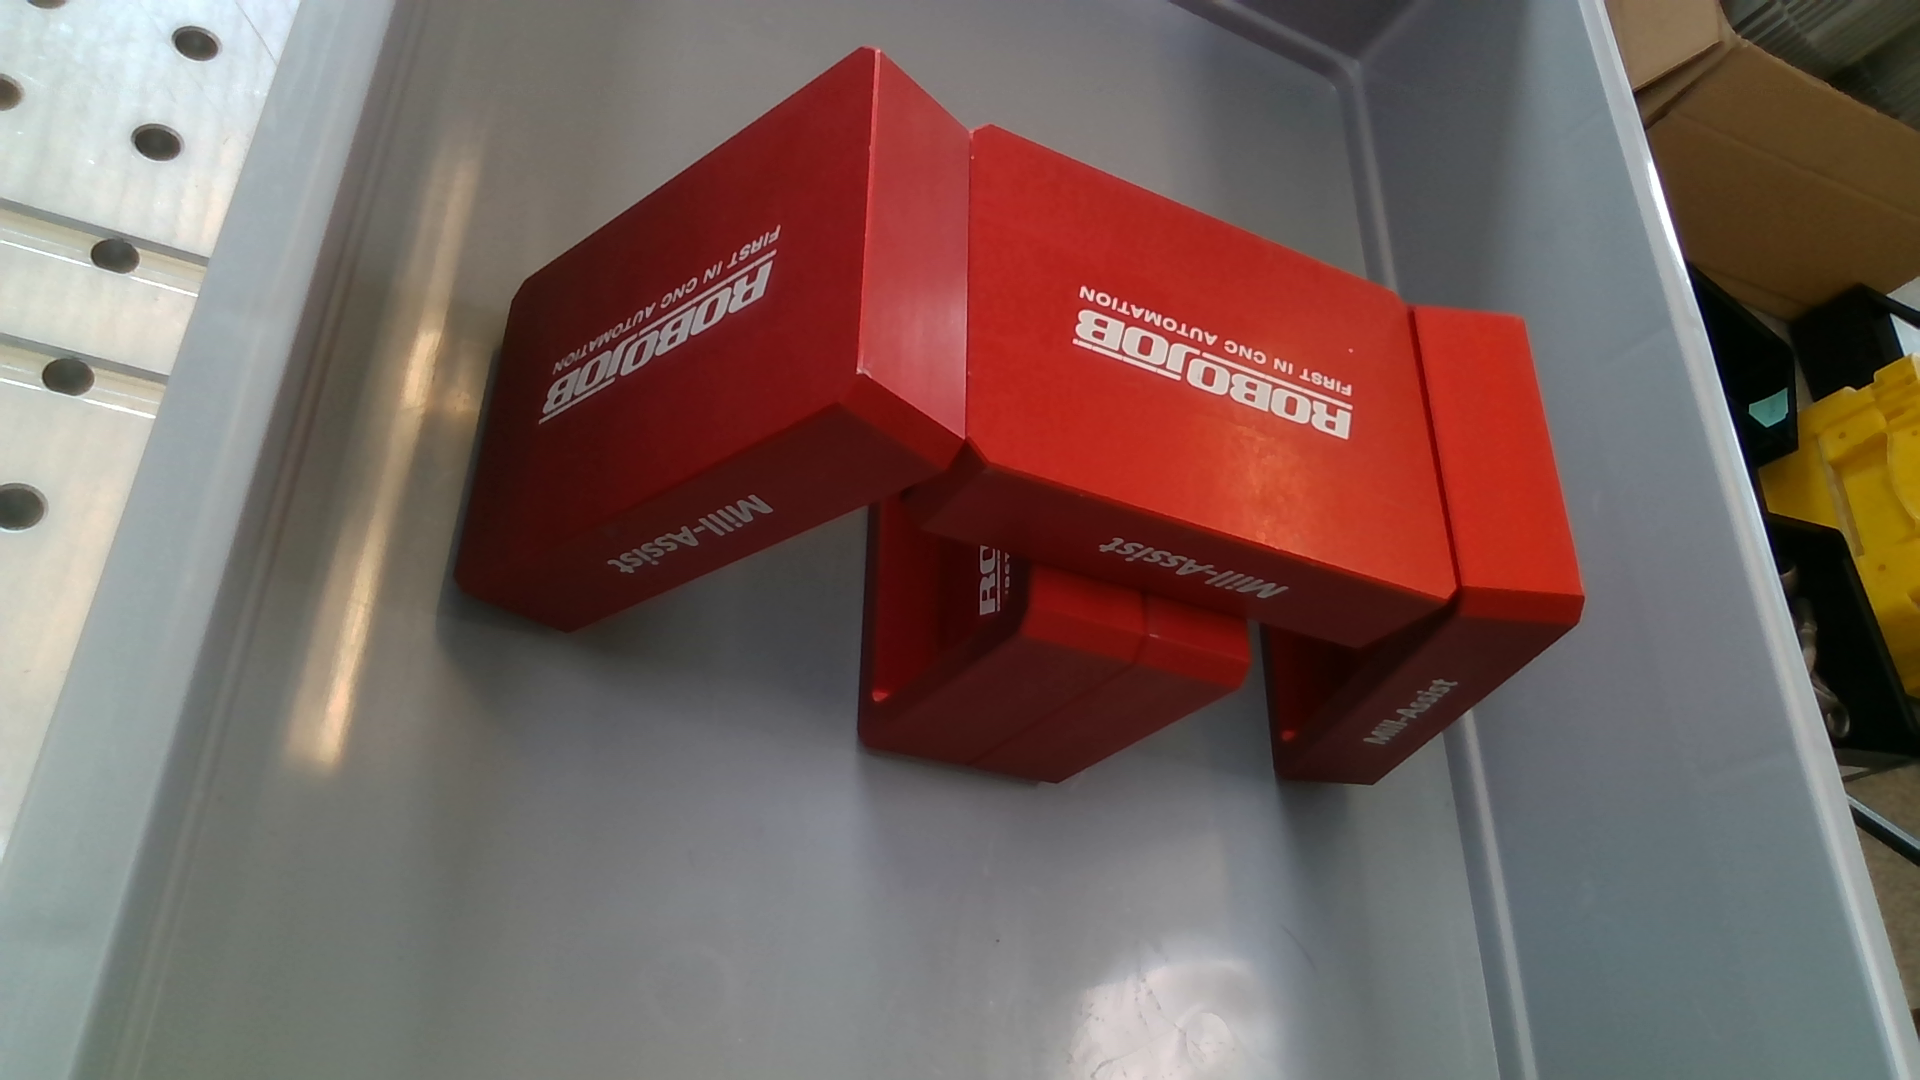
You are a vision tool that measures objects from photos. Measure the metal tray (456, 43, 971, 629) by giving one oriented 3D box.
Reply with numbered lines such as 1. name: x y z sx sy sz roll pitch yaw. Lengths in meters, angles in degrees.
1. metal tray: -0.057 -0.041 0.309 0.030 0.130 0.090 30 51 -43

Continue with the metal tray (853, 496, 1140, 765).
1. metal tray: 0.007 -0.016 0.364 0.030 0.090 0.130 15 58 -25

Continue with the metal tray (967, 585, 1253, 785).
1. metal tray: 0.034 -0.009 0.376 0.030 0.090 0.130 15 58 -25

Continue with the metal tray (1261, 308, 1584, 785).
1. metal tray: 0.123 0.007 0.395 0.030 0.130 0.090 4 61 -7

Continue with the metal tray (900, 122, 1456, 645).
1. metal tray: 0.052 -0.034 0.322 0.130 0.030 0.090 15 59 -24
